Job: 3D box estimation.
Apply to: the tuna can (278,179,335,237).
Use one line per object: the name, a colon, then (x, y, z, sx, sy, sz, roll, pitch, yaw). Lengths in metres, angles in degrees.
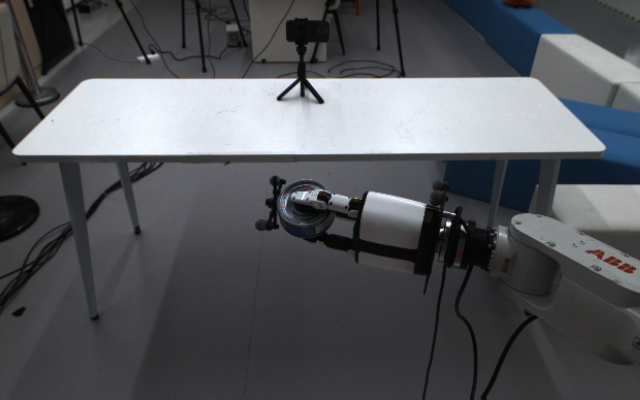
tuna can: (-0.018, 0.012, 0.719, 0.085, 0.034, 0.085, -2, 57, 3)
